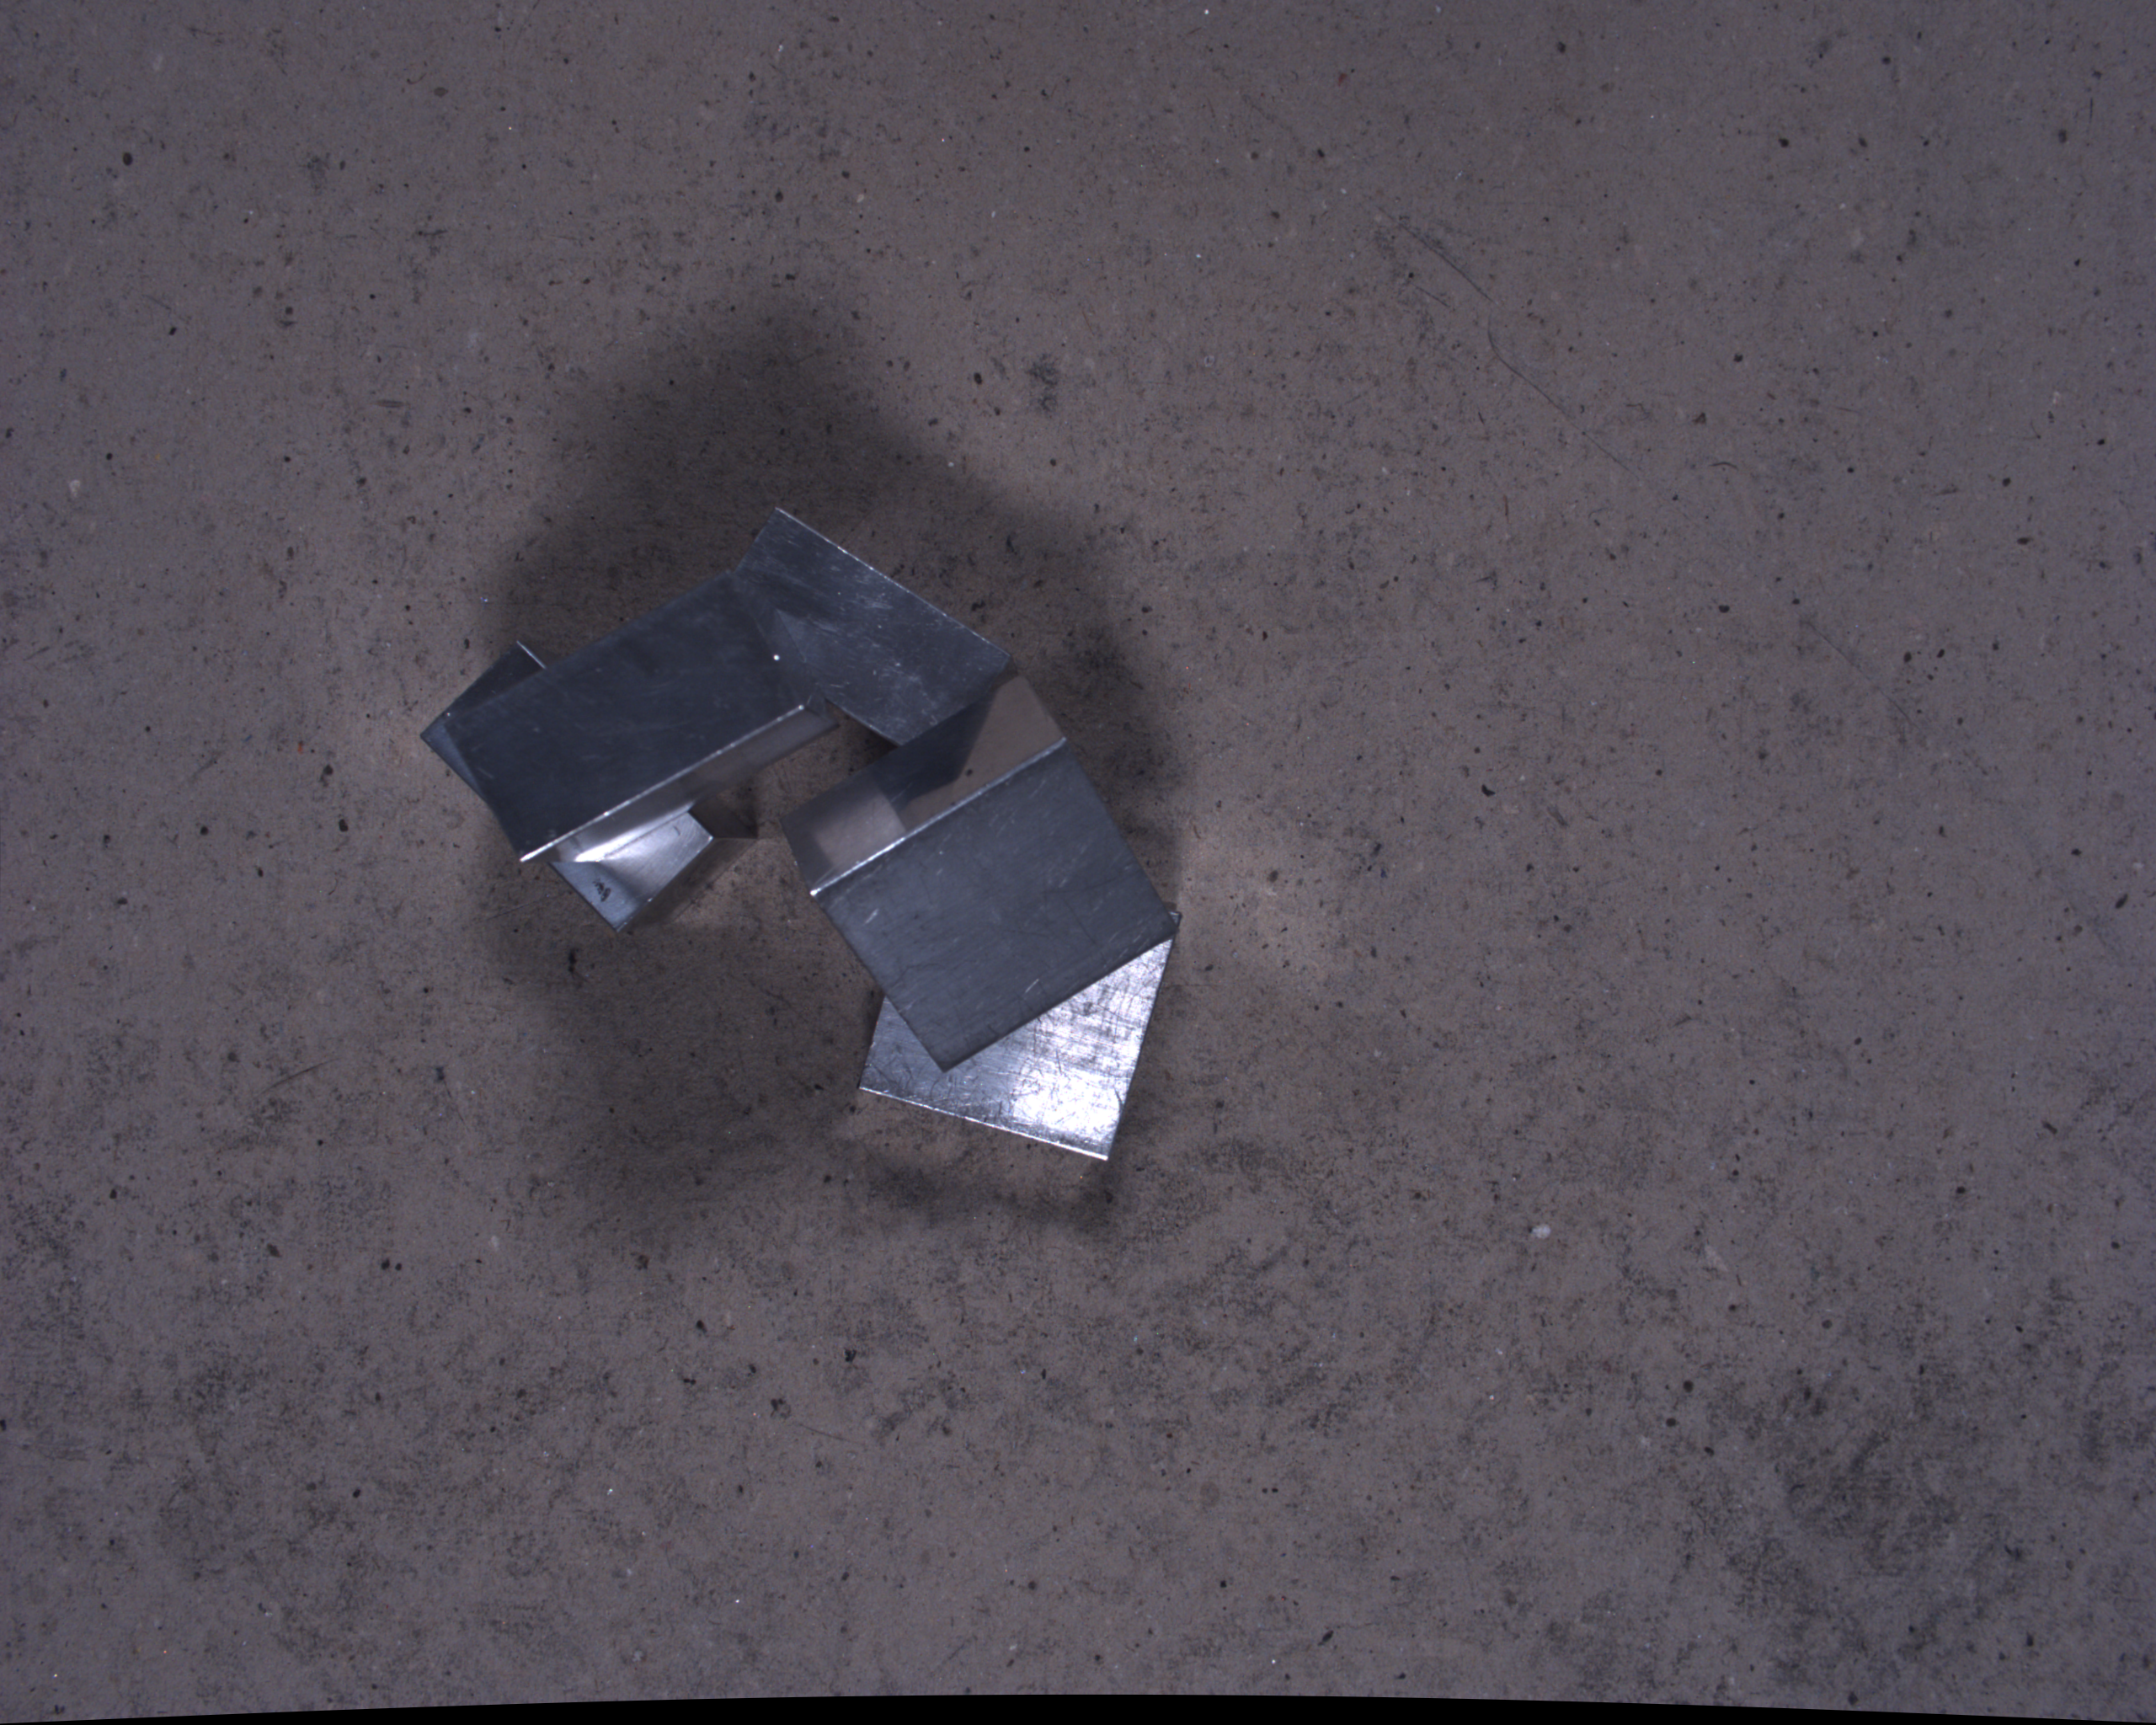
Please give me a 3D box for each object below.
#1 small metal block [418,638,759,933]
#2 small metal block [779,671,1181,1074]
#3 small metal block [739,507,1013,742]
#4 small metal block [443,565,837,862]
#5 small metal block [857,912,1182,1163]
[{"bbox_3d":[-0.091,-0.014,0.398,0.025,0.050,0.050,-45,91,0],"label":"small metal block"},{"bbox_3d":[-0.017,0.002,0.374,0.050,0.025,0.050,-31,128,0],"label":"small metal block"},{"bbox_3d":[-0.040,-0.040,0.398,0.050,0.050,0.025,32,90,-1],"label":"small metal block"},{"bbox_3d":[-0.070,-0.023,0.348,0.050,0.050,0.025,-29,90,0],"label":"small metal block"},{"bbox_3d":[-0.011,0.027,0.411,0.050,0.025,0.050,16,90,-1],"label":"small metal block"}]
